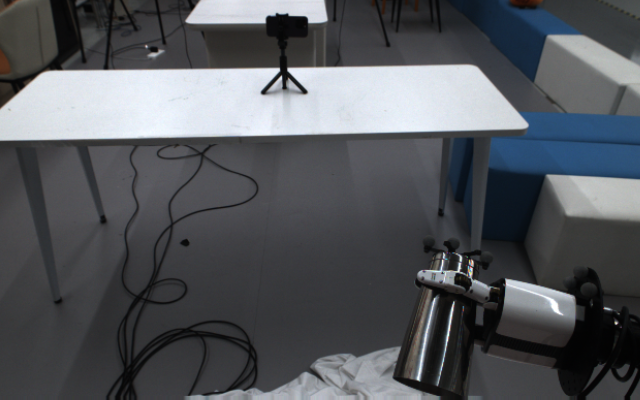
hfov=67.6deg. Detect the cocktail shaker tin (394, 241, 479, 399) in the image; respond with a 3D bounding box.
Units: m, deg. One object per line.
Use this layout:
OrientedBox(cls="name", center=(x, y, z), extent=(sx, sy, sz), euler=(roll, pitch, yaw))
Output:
OrientedBox(cls="cocktail shaker tin", center=(0.163, 0.154, 0.628), extent=(0.093, 0.093, 0.170), euler=(12, 66, 14))
